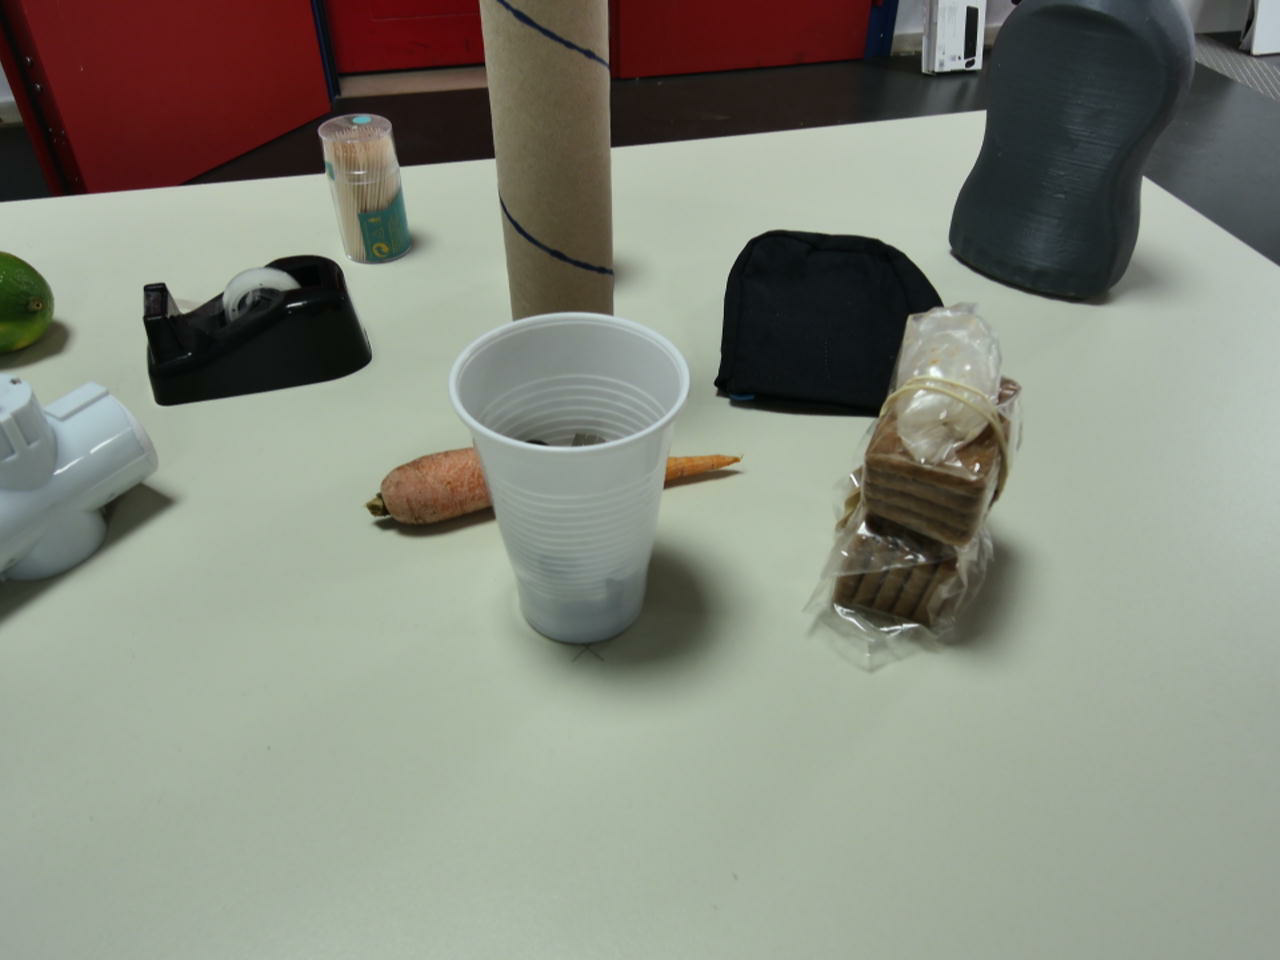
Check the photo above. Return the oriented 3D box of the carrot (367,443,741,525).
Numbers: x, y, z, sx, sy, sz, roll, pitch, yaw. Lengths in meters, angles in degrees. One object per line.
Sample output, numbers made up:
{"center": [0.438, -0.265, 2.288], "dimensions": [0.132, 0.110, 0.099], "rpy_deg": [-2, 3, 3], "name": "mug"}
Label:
{"center": [-0.037, -0.005, 0.437], "dimensions": [0.163, 0.029, 0.031], "rpy_deg": [-8, 39, -10], "name": "carrot"}
